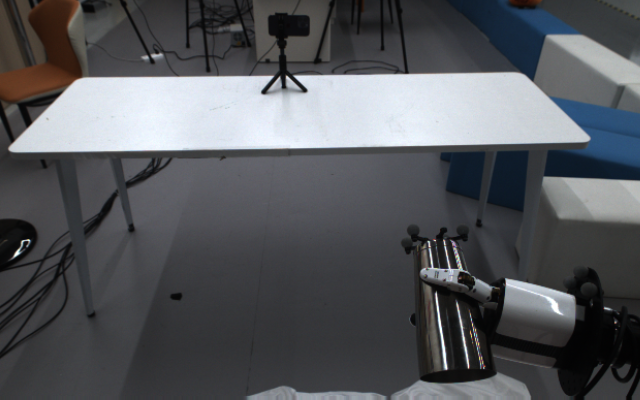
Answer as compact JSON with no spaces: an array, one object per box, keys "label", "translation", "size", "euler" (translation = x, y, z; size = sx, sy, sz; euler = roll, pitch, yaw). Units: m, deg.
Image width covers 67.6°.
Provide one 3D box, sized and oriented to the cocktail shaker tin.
[{"label":"cocktail shaker tin","translation":[0.165,0.139,0.624],"size":[0.093,0.093,0.170],"euler":[0,57,-4]}]
